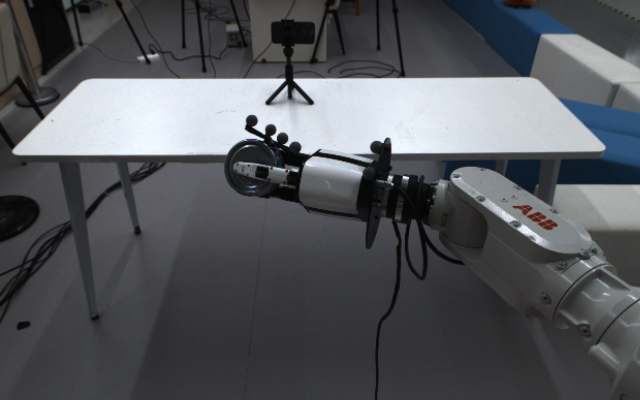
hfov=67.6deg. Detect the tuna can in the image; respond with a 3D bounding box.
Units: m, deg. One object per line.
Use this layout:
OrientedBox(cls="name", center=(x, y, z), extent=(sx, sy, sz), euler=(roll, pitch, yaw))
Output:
OrientedBox(cls="tuna can", center=(-0.095, -0.041, 0.717), extent=(0.085, 0.085, 0.034), euler=(12, 4, 14))
